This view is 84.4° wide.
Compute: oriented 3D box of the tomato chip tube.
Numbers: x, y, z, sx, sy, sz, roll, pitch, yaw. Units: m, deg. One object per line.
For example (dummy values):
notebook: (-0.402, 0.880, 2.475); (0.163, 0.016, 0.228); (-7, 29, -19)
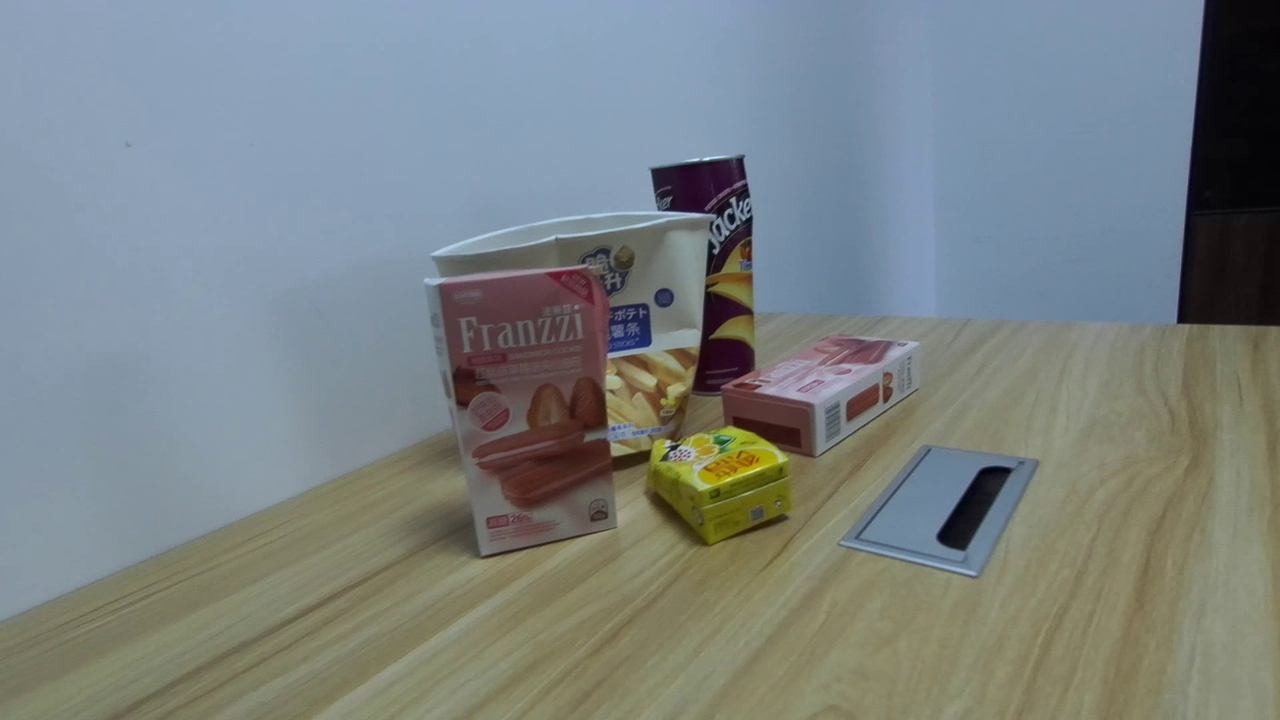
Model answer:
tomato chip tube: (0.072, -0.086, 0.732); (0.076, 0.235, 0.077); (-19, 18, -38)

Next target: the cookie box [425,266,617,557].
cookie box: (-0.072, 0.031, 0.474); (0.118, 0.184, 0.055); (-8, 16, -5)

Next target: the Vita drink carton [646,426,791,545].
Vita drink carton: (0.054, 0.082, 0.495); (0.087, 0.042, 0.108); (-17, 13, -11)

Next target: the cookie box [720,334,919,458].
cookie box: (0.167, 0.026, 0.638); (0.185, 0.048, 0.095); (-21, 20, -41)

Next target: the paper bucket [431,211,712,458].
paper bucket: (-0.041, -0.021, 0.618); (0.219, 0.199, 0.147); (-22, 21, -40)
